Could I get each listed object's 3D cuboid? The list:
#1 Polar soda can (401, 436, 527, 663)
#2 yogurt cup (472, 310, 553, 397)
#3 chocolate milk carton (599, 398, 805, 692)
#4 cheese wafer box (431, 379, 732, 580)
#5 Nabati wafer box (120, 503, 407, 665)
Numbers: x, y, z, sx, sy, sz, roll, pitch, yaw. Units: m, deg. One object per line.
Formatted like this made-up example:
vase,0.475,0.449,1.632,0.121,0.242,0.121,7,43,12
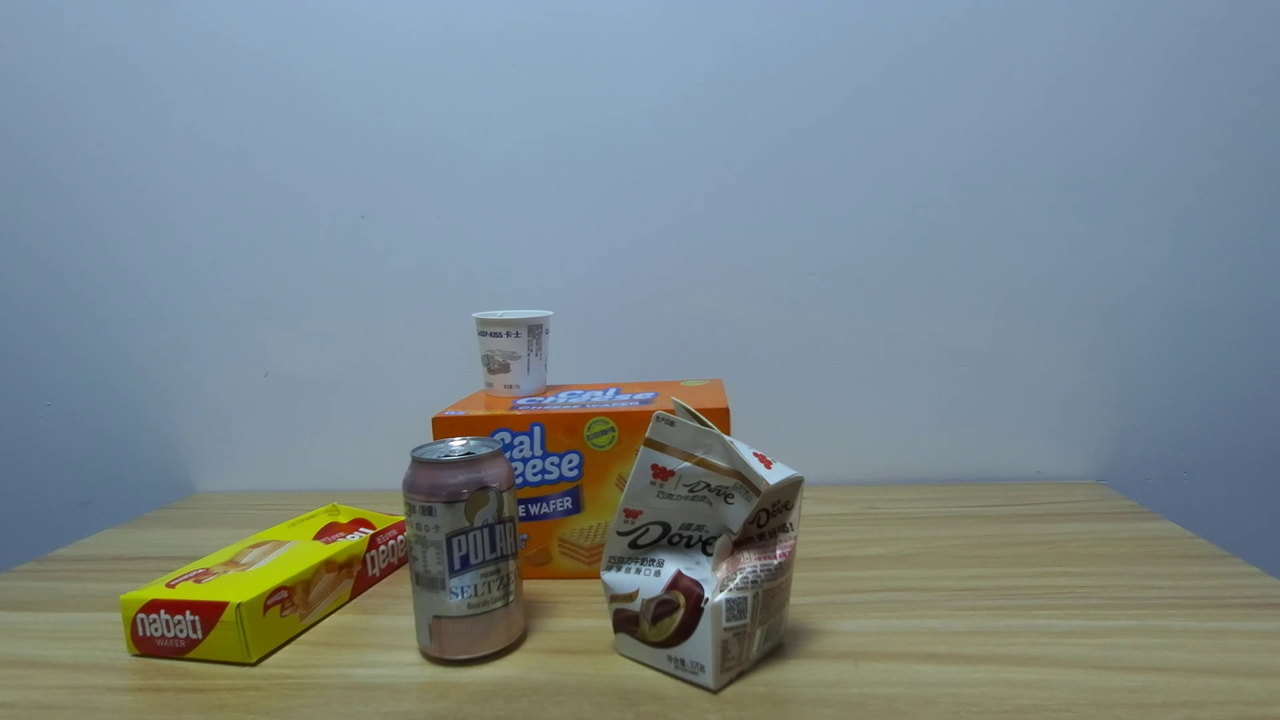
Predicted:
Polar soda can,-0.107,0.115,0.432,0.067,0.125,0.067,-3,4,1
yogurt cup,-0.108,-0.006,0.614,0.072,0.068,0.072,-1,7,0
chocolate milk carton,0.037,0.101,0.398,0.089,0.155,0.077,19,24,33
cheese wafer box,-0.038,0.093,0.589,0.222,0.129,0.148,-2,6,3
Nabati wafer box,-0.248,0.151,0.515,0.096,0.042,0.204,-4,4,16
